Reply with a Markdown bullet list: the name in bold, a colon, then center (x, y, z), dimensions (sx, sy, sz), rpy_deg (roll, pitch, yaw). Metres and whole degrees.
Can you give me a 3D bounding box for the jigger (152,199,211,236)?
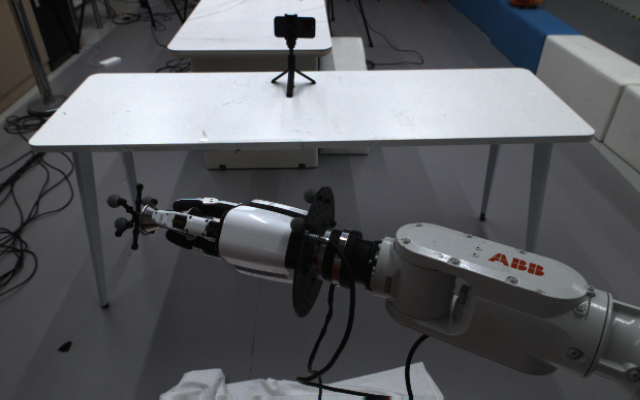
- **jigger**: center (-0.188, 0.023, 0.638), dimensions (0.071, 0.043, 0.043), rpy_deg (5, 34, 15)
